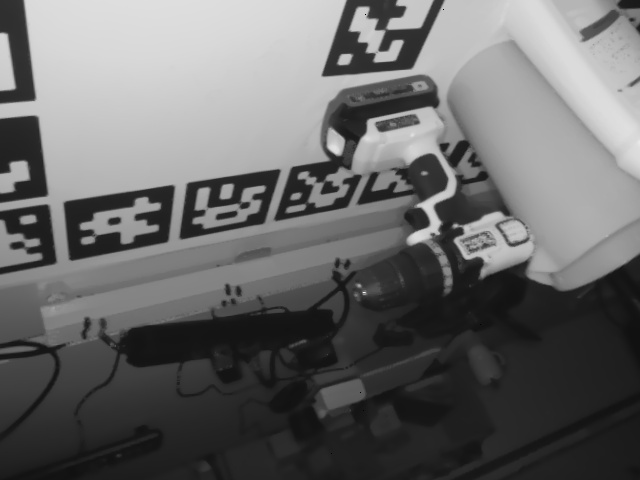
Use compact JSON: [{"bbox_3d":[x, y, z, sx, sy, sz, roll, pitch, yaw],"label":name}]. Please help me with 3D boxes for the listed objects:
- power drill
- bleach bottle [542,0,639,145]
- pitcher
[{"bbox_3d":[0.108,-0.042,0.641,0.186,0.187,0.056,-11,144,-17],"label":"power drill"},{"bbox_3d":[0.306,-0.126,0.611,0.104,0.251,0.067,-17,149,-18],"label":"bleach bottle"},{"bbox_3d":[0.266,-0.079,0.694,0.189,0.242,0.133,-27,149,-2],"label":"pitcher"}]
